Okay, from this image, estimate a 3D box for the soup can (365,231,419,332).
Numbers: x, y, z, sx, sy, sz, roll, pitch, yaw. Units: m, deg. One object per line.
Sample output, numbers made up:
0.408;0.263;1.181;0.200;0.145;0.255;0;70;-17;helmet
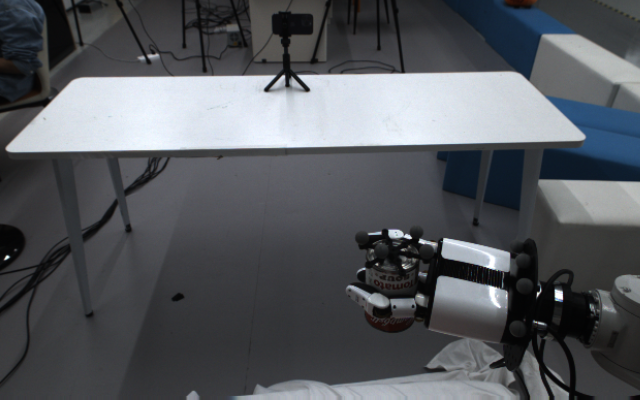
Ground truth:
0.093;0.108;0.617;0.067;0.101;0.067;-2;32;1;soup can
